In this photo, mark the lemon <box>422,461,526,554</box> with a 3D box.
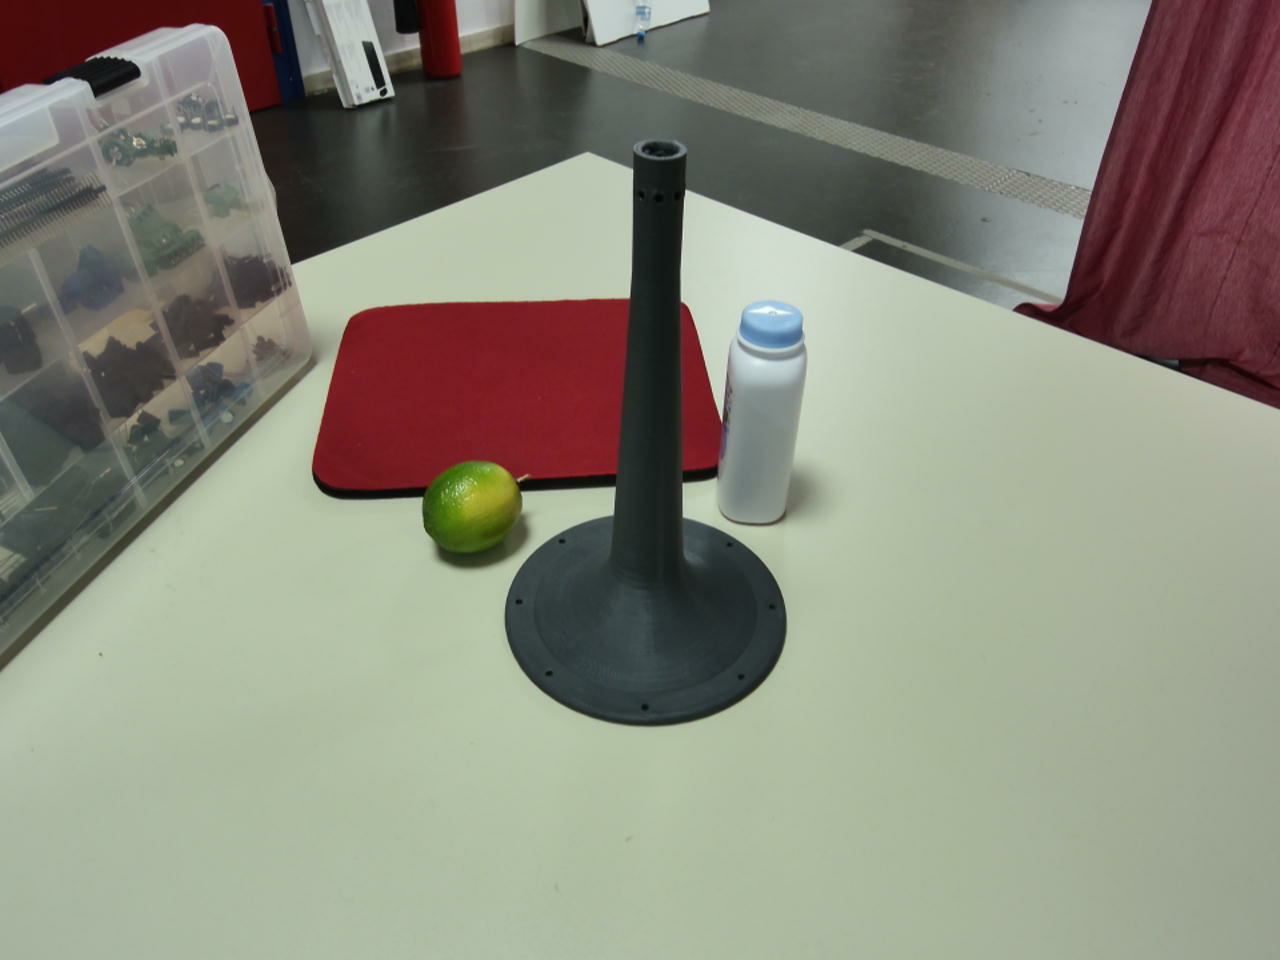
[{"bbox_3d":[-0.094,0.015,0.561,0.055,0.050,0.054,2,38,1],"label":"lemon"}]
